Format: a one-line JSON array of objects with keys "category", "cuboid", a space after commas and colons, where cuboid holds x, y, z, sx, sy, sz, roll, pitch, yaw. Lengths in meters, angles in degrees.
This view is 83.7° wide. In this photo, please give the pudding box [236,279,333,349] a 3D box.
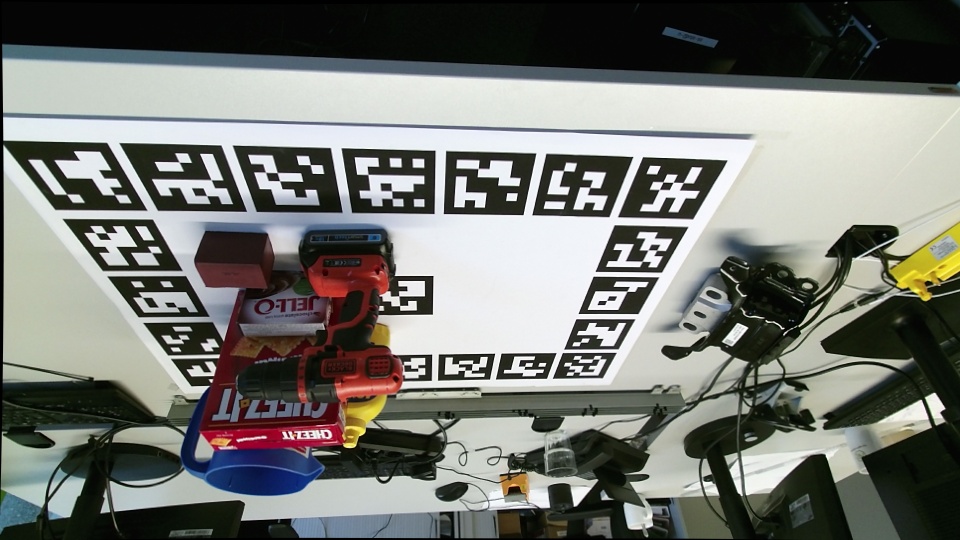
[{"category": "pudding box", "cuboid": [-0.258, 0.058, 0.718, 0.114, 0.089, 0.039, -2, 141, -9]}]

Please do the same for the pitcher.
[{"category": "pitcher", "cuboid": [-0.319, 0.202, 0.788, 0.189, 0.241, 0.133, 2, 139, -12]}]

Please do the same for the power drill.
[{"category": "power drill", "cuboid": [-0.186, 0.069, 0.633, 0.185, 0.186, 0.057, -1, 142, -5]}]

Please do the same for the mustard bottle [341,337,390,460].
[{"category": "mustard bottle", "cuboid": [-0.187, 0.192, 0.809, 0.096, 0.190, 0.058, 8, 136, -16]}]

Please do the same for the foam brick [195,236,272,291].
[{"category": "foam brick", "cuboid": [-0.313, -0.008, 0.685, 0.078, 0.051, 0.053, 1, 137, -8]}]

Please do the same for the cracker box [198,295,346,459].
[{"category": "cracker box", "cuboid": [-0.265, 0.130, 0.719, 0.165, 0.212, 0.072, -4, 141, -6]}]
